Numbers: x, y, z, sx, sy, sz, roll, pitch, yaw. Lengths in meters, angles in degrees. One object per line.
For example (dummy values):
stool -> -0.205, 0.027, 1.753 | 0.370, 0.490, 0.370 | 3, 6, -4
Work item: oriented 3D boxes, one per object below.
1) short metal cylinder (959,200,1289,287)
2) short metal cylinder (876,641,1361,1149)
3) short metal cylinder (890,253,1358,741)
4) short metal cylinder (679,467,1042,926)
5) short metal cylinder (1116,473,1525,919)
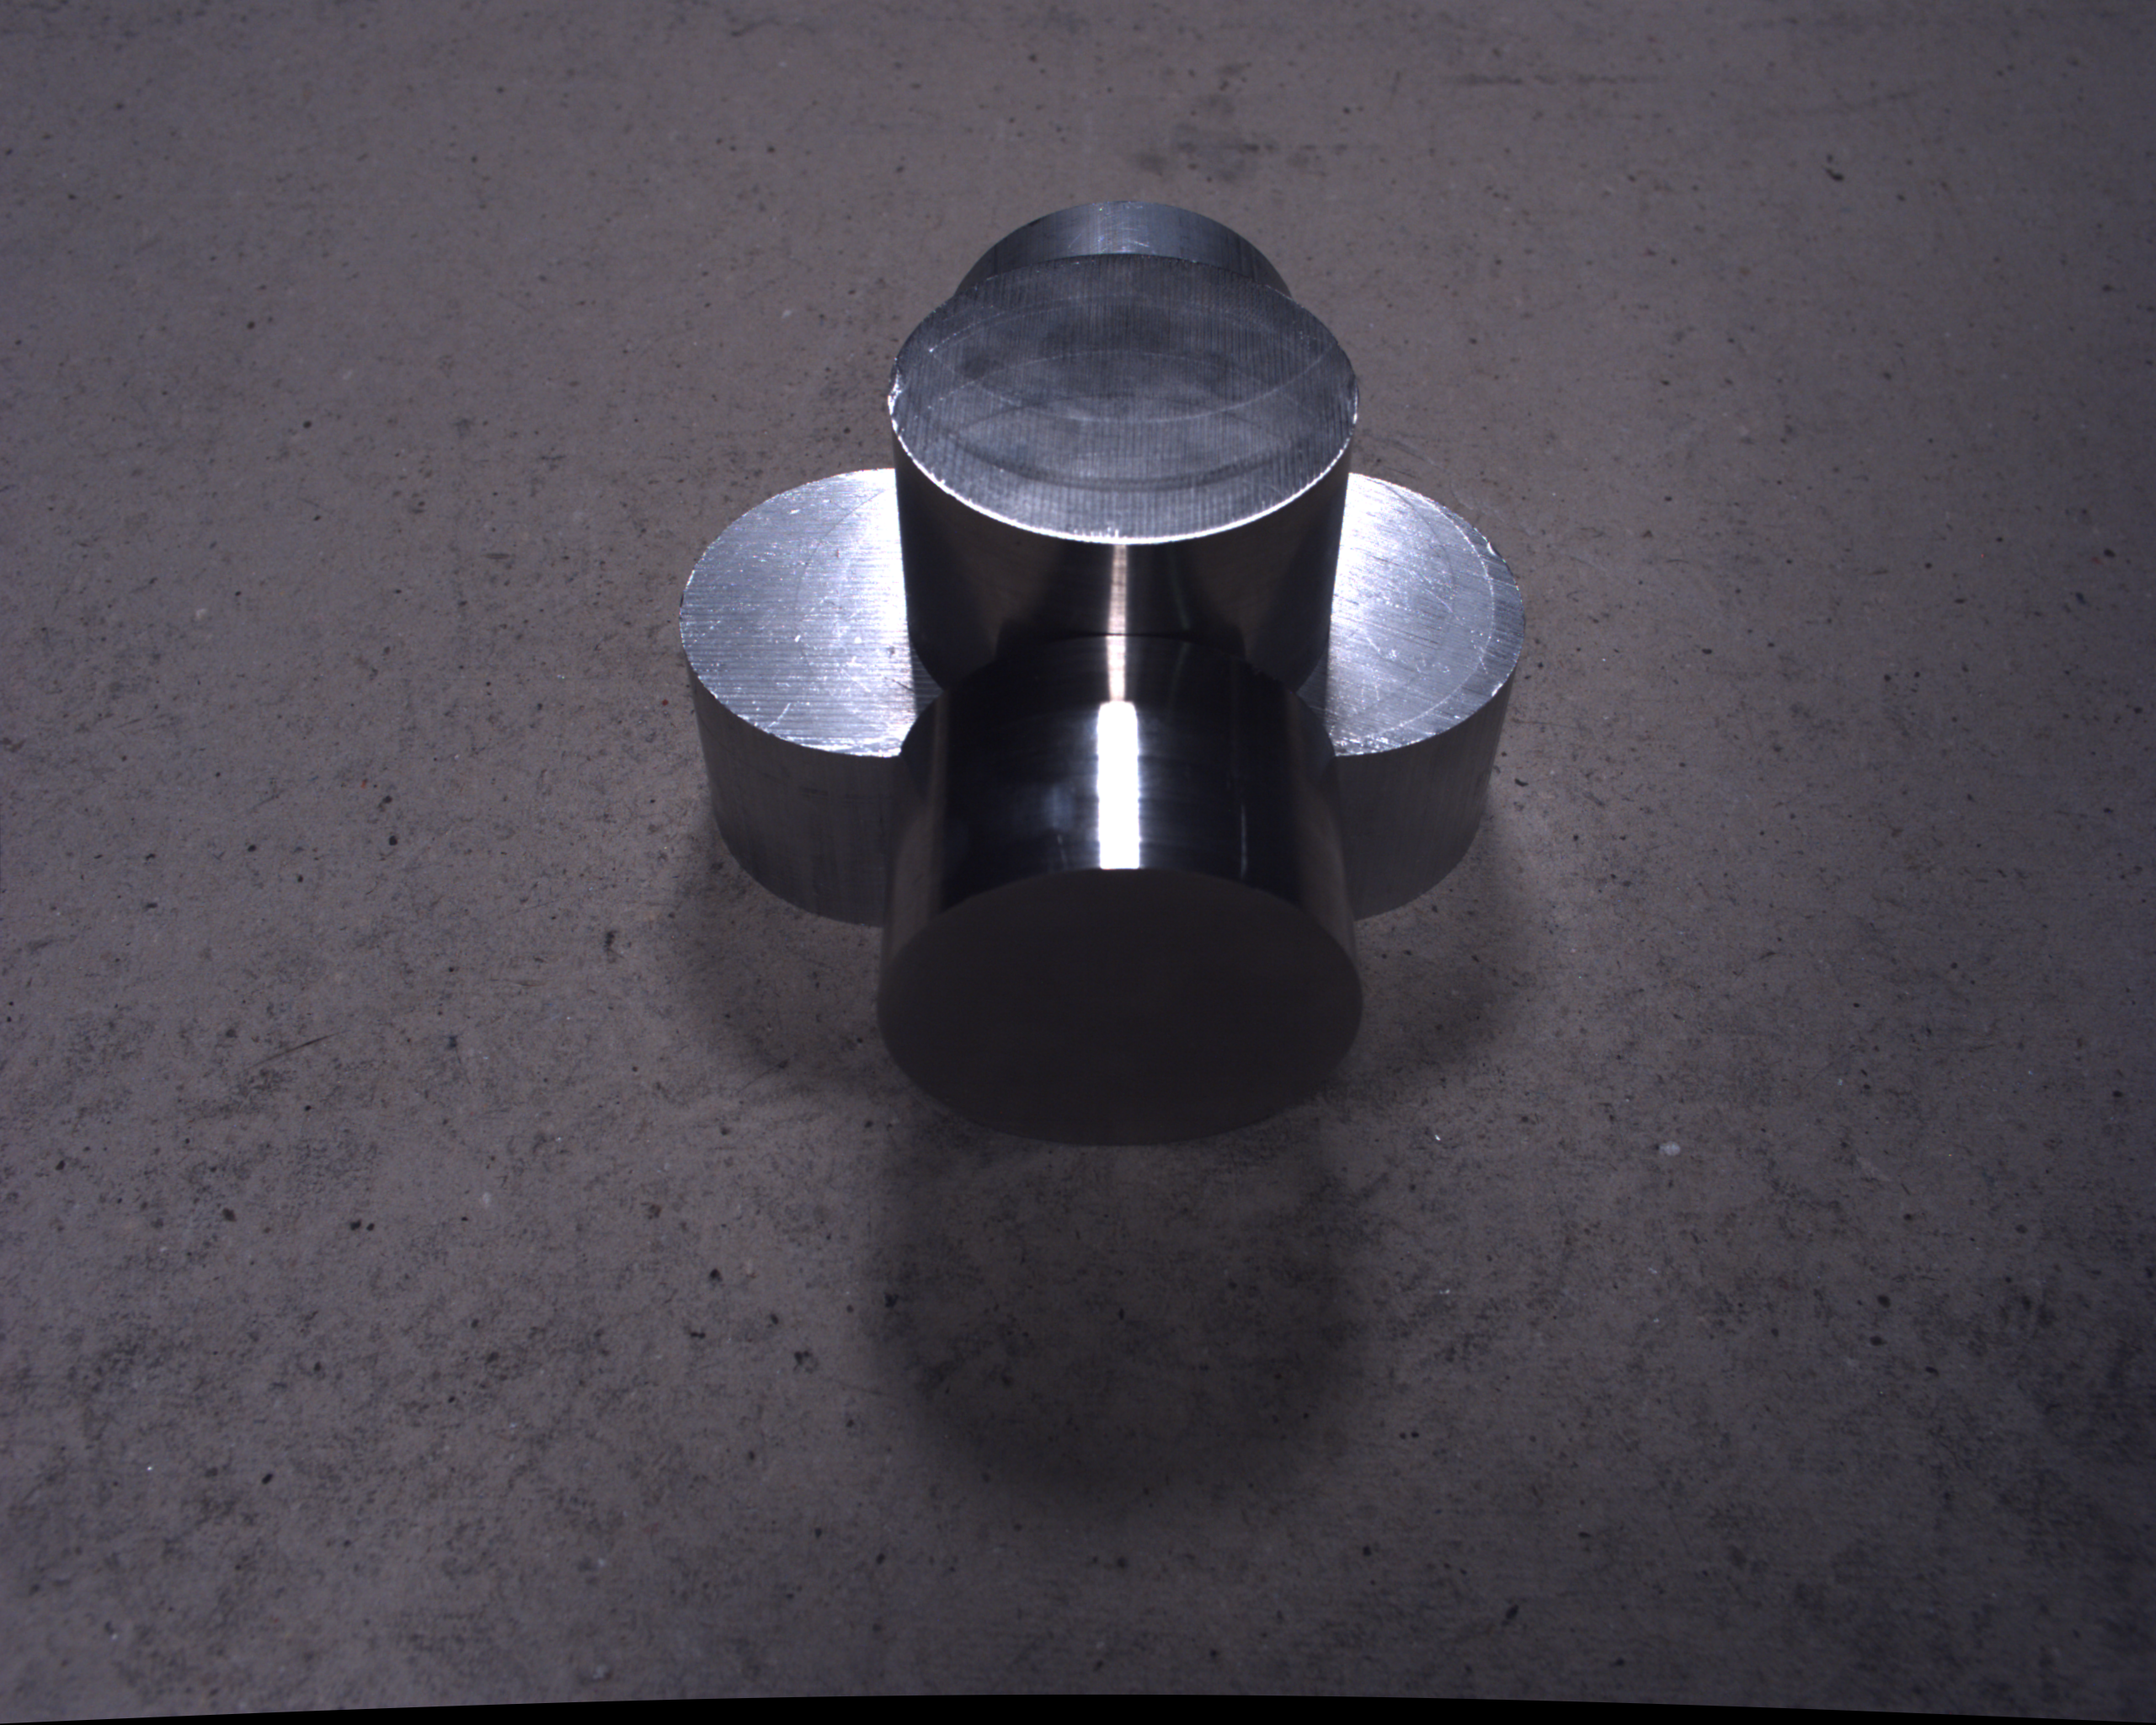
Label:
short metal cylinder -> 0.010, -0.093, 0.448 | 0.081, 0.080, 0.050 | 0, 50, -1
short metal cylinder -> 0.007, 0.007, 0.363 | 0.081, 0.080, 0.050 | 0, 50, 0
short metal cylinder -> 0.008, -0.066, 0.378 | 0.081, 0.050, 0.080 | 0, 50, 0
short metal cylinder -> -0.035, -0.034, 0.416 | 0.081, 0.050, 0.080 | 0, 50, 0
short metal cylinder -> 0.045, -0.034, 0.418 | 0.081, 0.050, 0.080 | 0, 50, 0
